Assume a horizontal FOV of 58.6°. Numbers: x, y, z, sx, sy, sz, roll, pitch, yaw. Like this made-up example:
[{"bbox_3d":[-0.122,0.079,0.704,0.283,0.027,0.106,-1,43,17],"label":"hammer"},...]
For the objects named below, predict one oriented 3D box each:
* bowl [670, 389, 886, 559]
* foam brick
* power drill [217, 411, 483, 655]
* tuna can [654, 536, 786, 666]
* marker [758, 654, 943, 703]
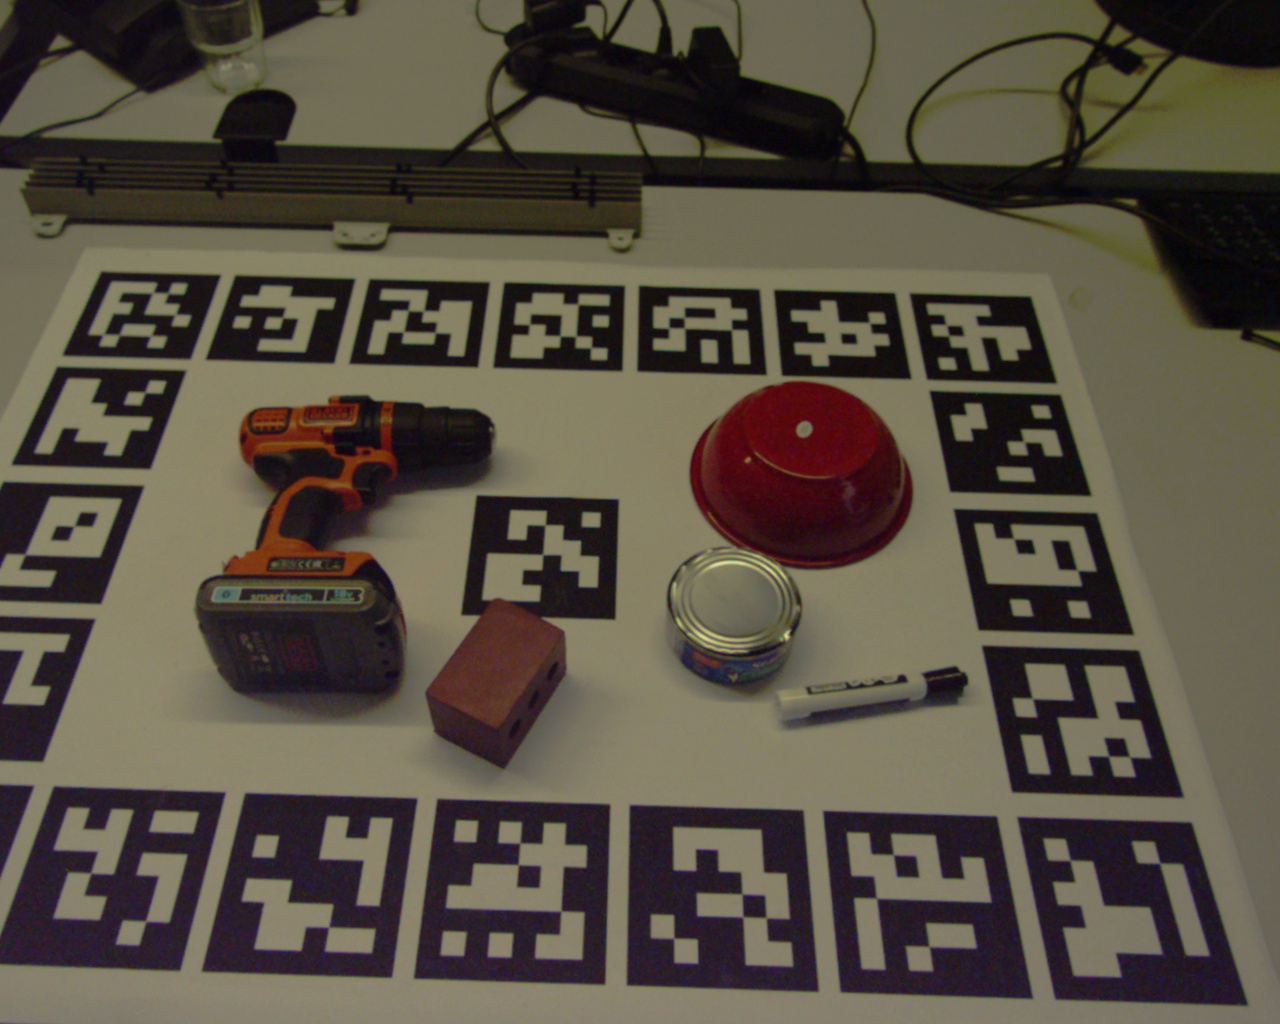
[{"bbox_3d":[0.103,-0.042,0.845,0.162,0.055,0.162,-2,45,1],"label":"bowl"},{"bbox_3d":[-0.092,0.103,0.726,0.052,0.052,0.078,22,56,13],"label":"foam brick"},{"bbox_3d":[-0.206,0.008,0.791,0.184,0.057,0.188,2,50,-4],"label":"power drill"},{"bbox_3d":[0.052,0.060,0.765,0.085,0.033,0.086,2,52,-3],"label":"tuna can"},{"bbox_3d":[0.137,0.107,0.738,0.121,0.019,0.020,-6,54,-6],"label":"marker"}]
